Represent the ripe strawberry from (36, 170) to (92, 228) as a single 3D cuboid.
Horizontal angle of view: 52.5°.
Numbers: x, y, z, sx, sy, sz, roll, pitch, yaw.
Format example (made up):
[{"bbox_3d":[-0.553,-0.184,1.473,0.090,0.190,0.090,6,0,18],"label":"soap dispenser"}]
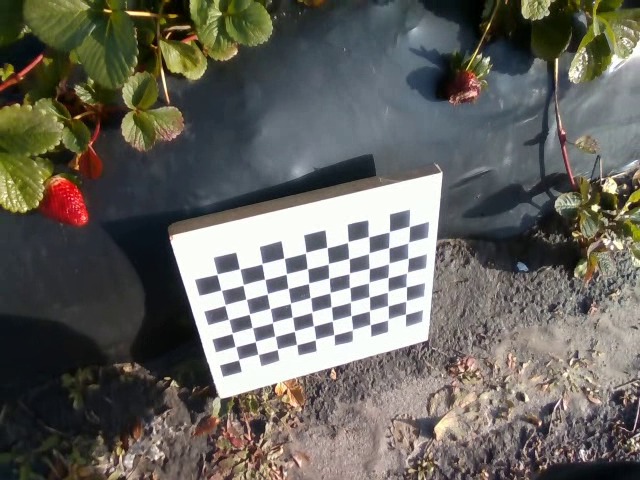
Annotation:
[{"bbox_3d":[-0.227,-0.030,0.564,0.056,0.040,0.041,42,27,6],"label":"ripe strawberry"}]
